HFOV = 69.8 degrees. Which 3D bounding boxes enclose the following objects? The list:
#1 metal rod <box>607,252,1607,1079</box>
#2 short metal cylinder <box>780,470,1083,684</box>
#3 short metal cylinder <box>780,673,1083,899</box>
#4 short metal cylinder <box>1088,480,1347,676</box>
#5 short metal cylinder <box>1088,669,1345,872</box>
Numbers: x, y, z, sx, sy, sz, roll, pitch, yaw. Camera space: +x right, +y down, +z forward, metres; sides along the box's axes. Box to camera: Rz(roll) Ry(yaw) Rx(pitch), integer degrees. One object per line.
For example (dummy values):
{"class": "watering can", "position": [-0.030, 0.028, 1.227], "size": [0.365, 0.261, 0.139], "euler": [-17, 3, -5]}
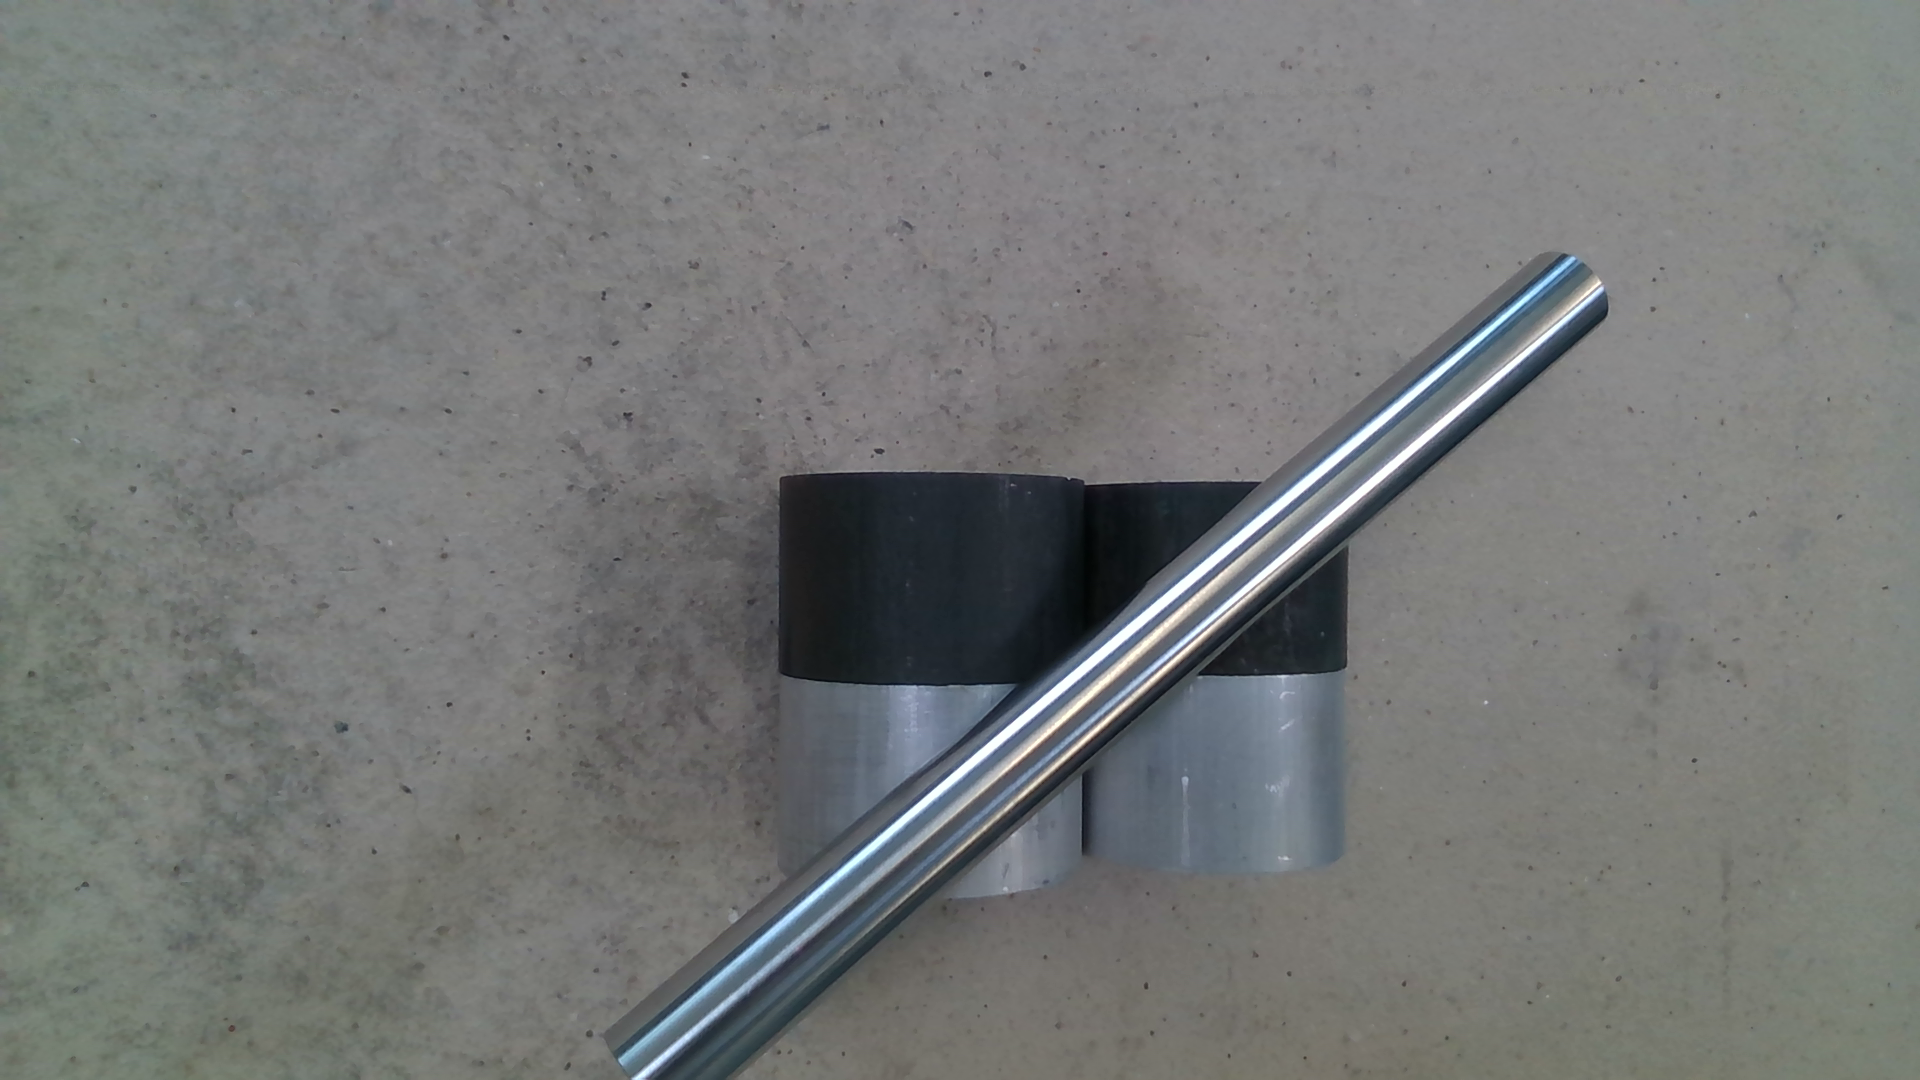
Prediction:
{"class": "metal rod", "position": [0.048, 0.023, 0.327], "size": [0.300, 0.025, 0.025], "euler": [-38, 102, -16]}
{"class": "short metal cylinder", "position": [-0.008, 0.009, 0.363], "size": [0.080, 0.080, 0.050], "euler": [1, 90, -20]}
{"class": "short metal cylinder", "position": [-0.007, 0.059, 0.363], "size": [0.080, 0.080, 0.050], "euler": [1, 90, -20]}
{"class": "short metal cylinder", "position": [0.068, 0.010, 0.390], "size": [0.080, 0.080, 0.050], "euler": [1, 90, -20]}
{"class": "short metal cylinder", "position": [0.068, 0.060, 0.390], "size": [0.080, 0.080, 0.050], "euler": [1, 90, -20]}
